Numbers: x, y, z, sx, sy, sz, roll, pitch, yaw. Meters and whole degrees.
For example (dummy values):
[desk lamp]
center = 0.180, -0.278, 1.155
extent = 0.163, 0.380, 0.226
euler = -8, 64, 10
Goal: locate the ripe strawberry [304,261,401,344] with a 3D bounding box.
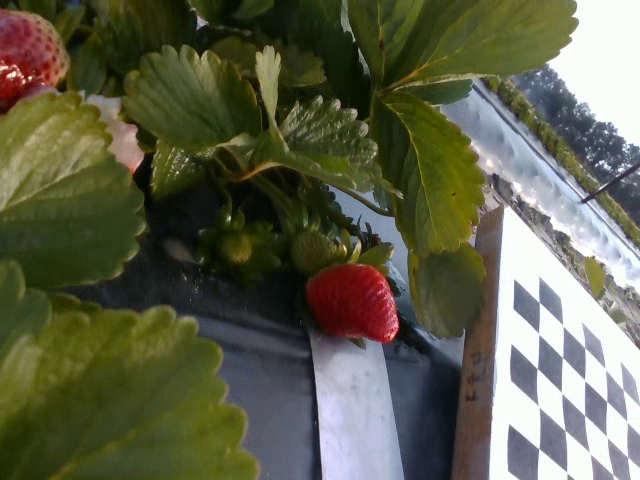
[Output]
[ripe strawberry]
center = 0.020, 0.028, 0.242
extent = 0.035, 0.050, 0.055
euler = -35, 30, 19
